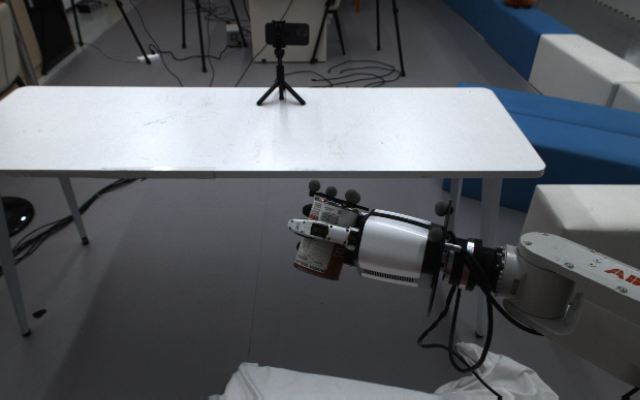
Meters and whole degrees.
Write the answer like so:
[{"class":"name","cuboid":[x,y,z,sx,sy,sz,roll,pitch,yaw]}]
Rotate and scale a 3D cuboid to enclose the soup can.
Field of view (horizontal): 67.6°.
[{"class":"soup can","cuboid":[0.010,0.054,0.678,0.067,0.101,0.067,17,-1,0]}]
